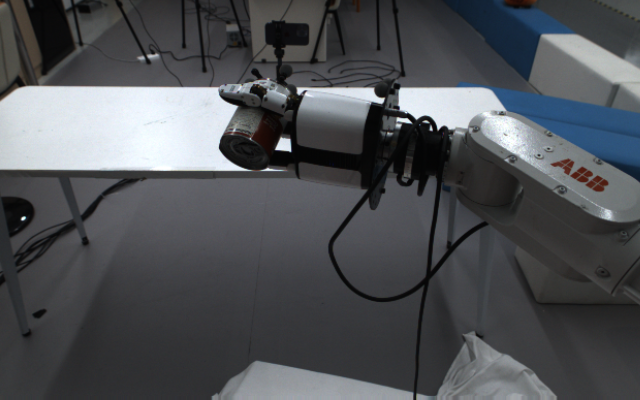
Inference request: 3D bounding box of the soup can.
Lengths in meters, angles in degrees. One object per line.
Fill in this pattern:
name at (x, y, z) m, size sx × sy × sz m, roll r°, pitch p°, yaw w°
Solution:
soup can at (-0.080, -0.098, 0.623) m, size 0.067 × 0.067 × 0.101 m, roll 12°, pitch 59°, yaw 14°
